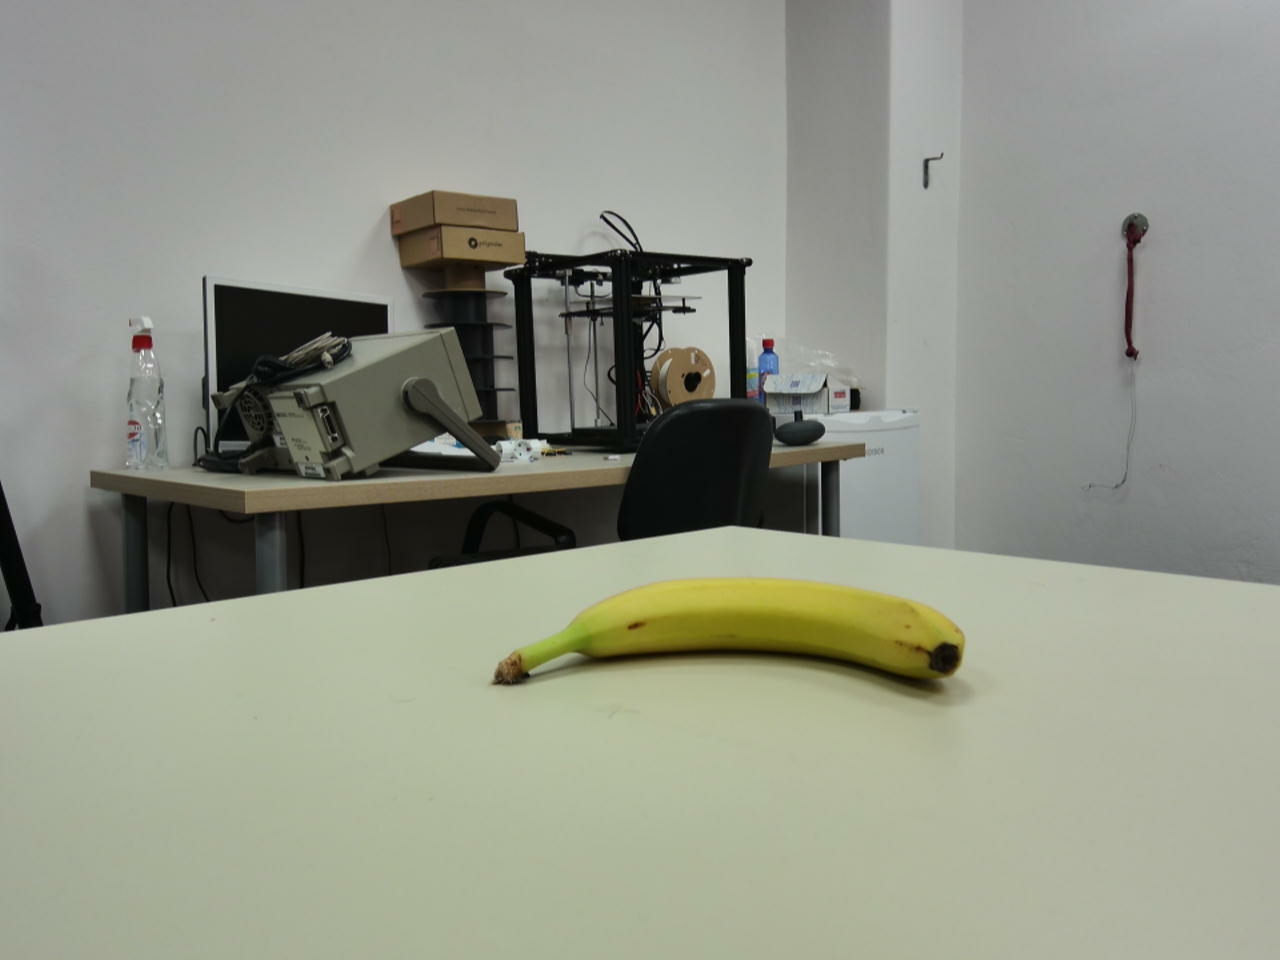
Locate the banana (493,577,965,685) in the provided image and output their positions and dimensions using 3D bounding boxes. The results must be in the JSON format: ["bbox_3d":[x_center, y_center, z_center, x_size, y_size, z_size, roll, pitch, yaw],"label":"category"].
[{"bbox_3d":[0.041,0.068,0.463,0.196,0.041,0.094,1,3,14],"label":"banana"}]
